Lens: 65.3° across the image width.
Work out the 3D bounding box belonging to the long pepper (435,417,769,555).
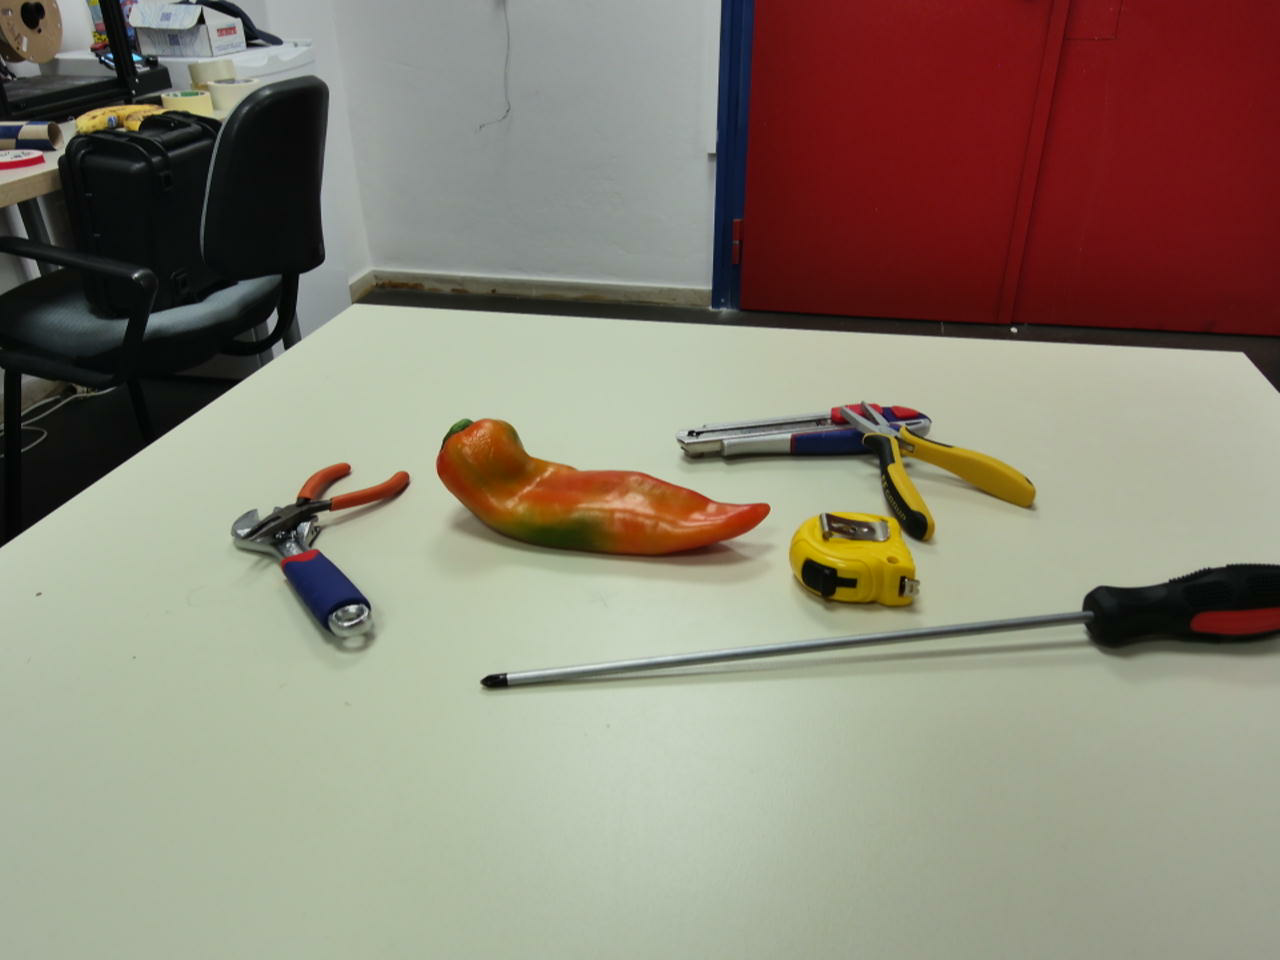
[{"bbox_3d":[-0.025,0.003,0.587,0.199,0.065,0.066,8,27,16],"label":"long pepper"}]
